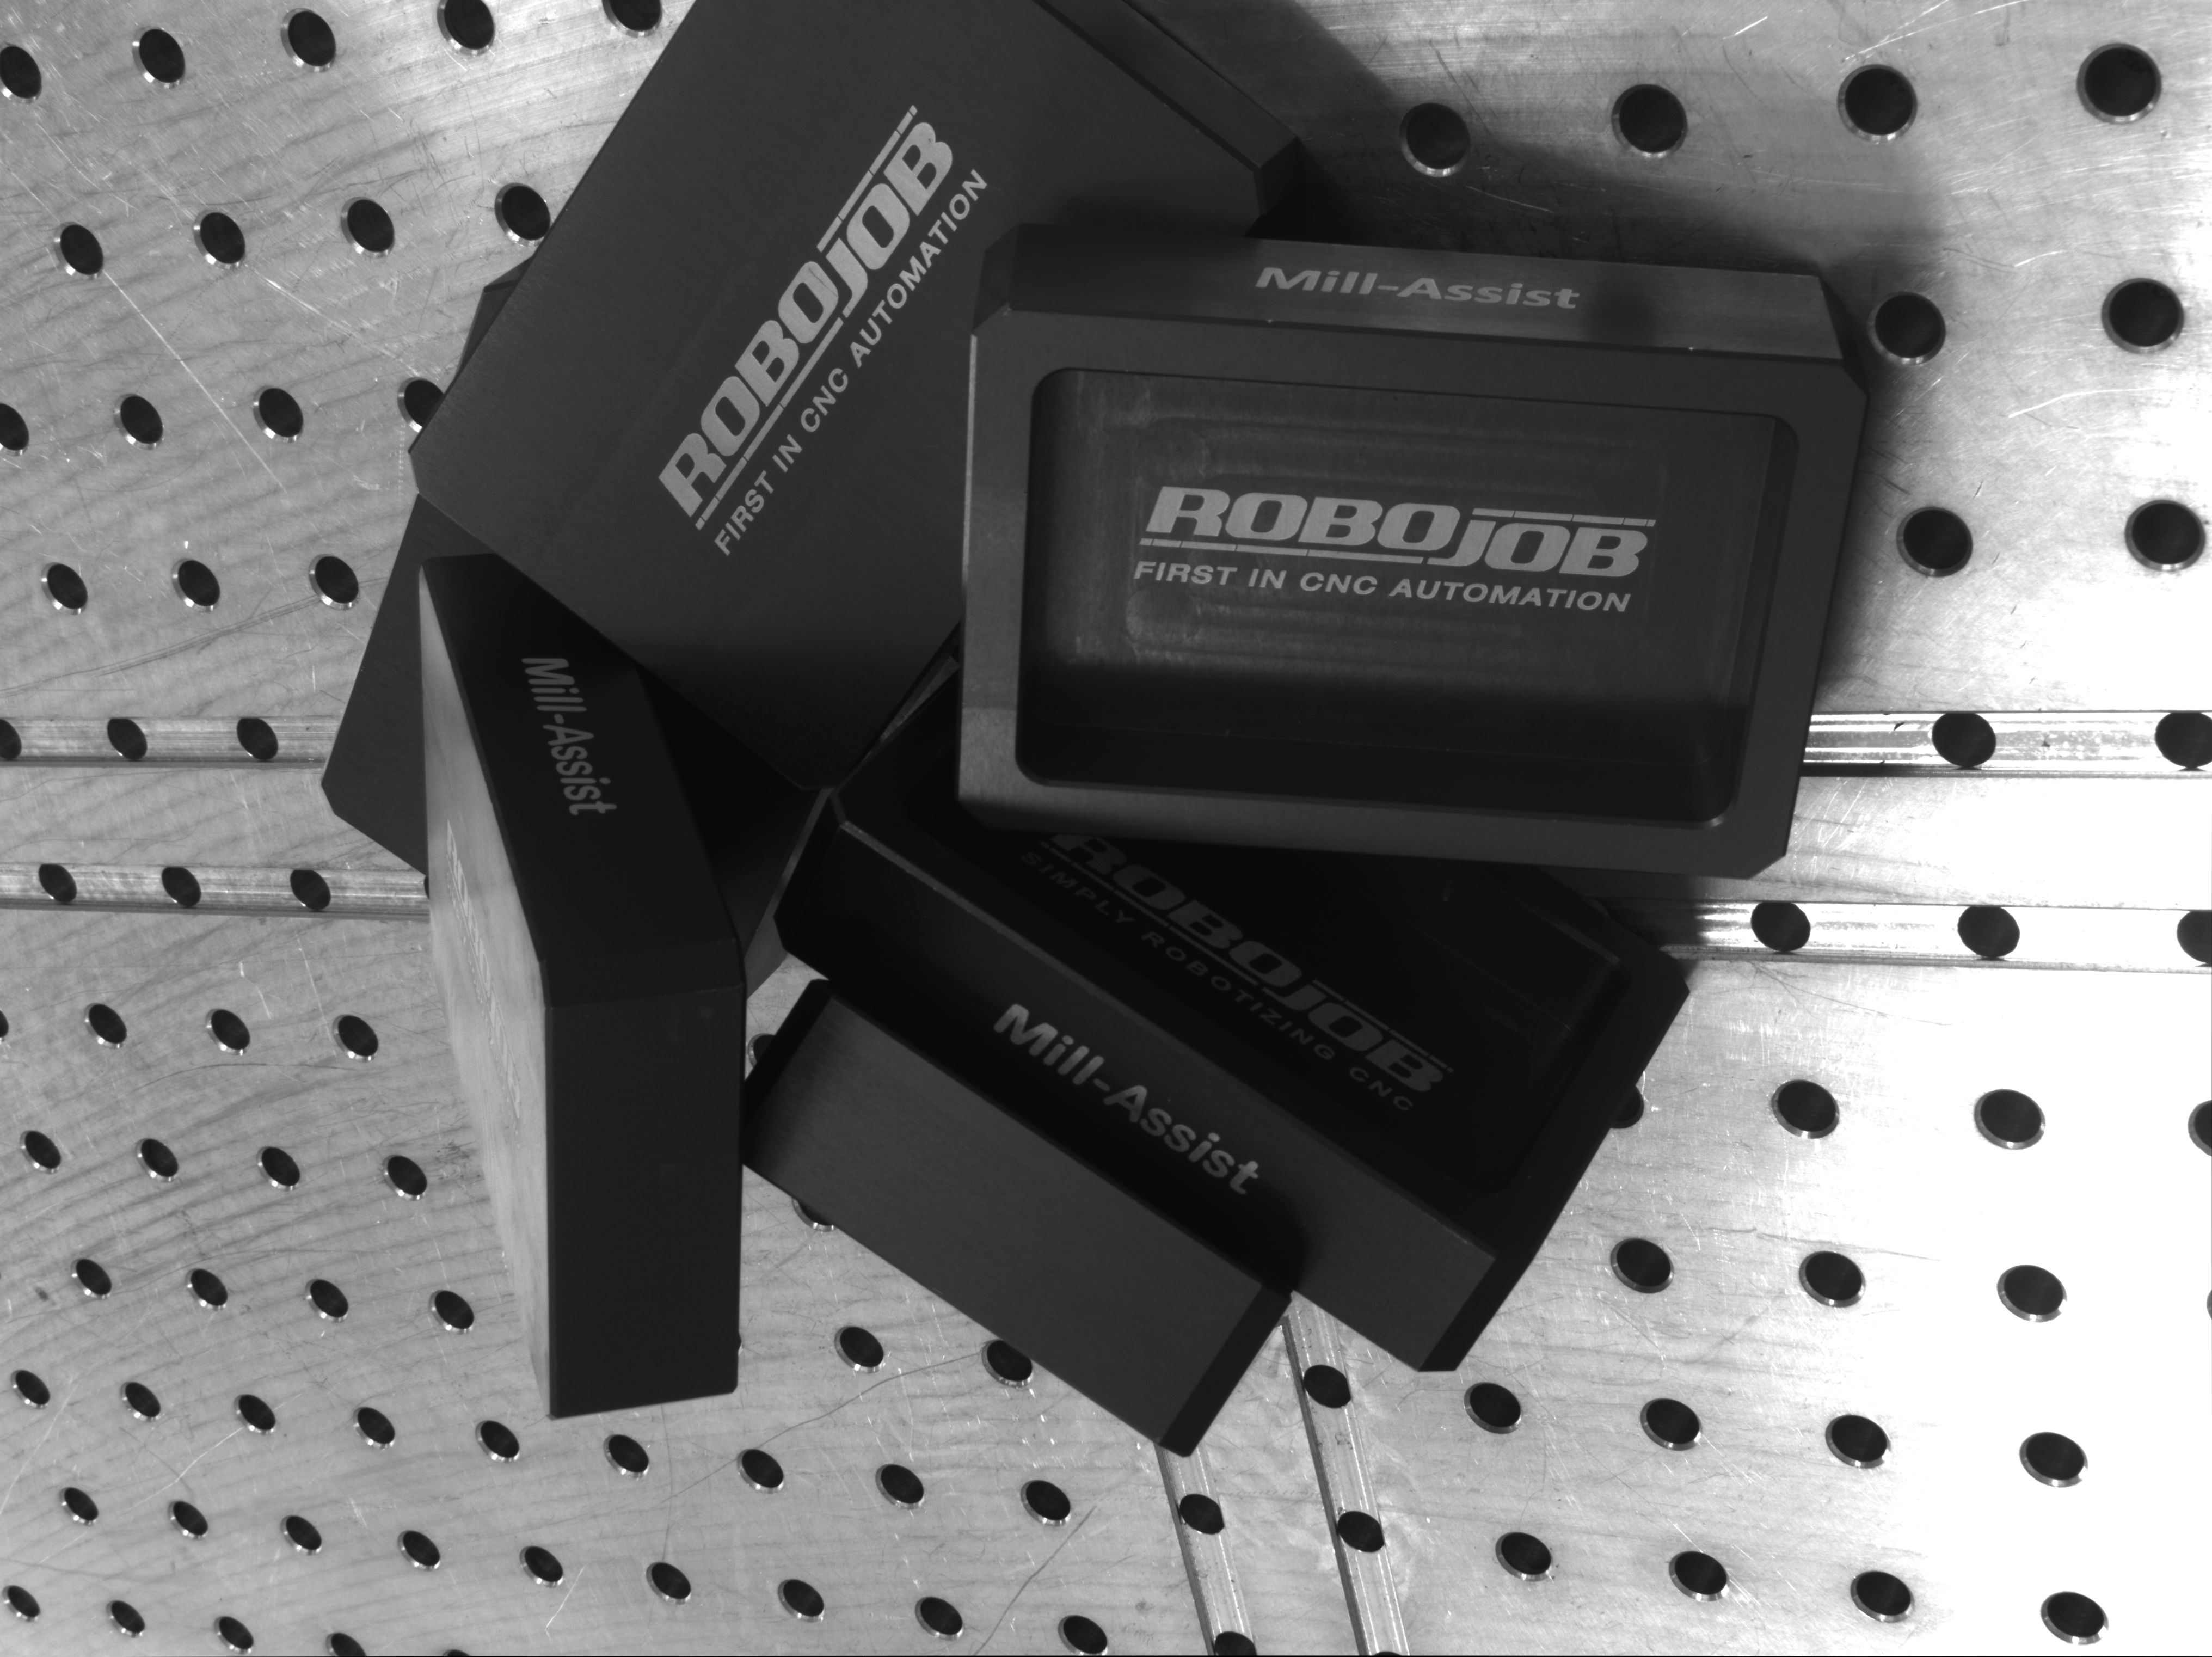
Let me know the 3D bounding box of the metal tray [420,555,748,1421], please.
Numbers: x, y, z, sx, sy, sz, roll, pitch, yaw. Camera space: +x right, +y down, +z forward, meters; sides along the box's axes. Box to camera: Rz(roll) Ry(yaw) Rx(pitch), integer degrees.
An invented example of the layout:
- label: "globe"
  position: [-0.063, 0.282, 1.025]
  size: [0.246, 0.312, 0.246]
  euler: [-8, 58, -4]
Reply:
- label: "metal tray"
  position: [-0.089, 0.023, 0.610]
  size: [0.030, 0.130, 0.090]
  euler: [-6, 125, -17]

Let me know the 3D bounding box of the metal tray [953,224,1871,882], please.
- label: "metal tray"
  position: [0.044, -0.041, 0.563]
  size: [0.130, 0.030, 0.090]
  euler: [4, 123, 0]

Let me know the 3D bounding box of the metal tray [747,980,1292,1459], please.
- label: "metal tray"
  position: [-0.011, 0.064, 0.629]
  size: [0.090, 0.130, 0.030]
  euler: [34, 90, 7]

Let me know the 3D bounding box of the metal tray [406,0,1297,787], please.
- label: "metal tray"
  position: [-0.042, -0.082, 0.591]
  size: [0.090, 0.030, 0.130]
  euler: [38, 115, -1]

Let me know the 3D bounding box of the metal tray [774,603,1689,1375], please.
- label: "metal tray"
  position: [0.023, 0.021, 0.604]
  size: [0.130, 0.090, 0.030]
  euler: [33, 128, 6]

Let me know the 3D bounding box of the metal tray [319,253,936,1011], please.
- label: "metal tray"
  position: [-0.084, -0.033, 0.668]
  size: [0.090, 0.030, 0.130]
  euler: [33, 129, 6]
